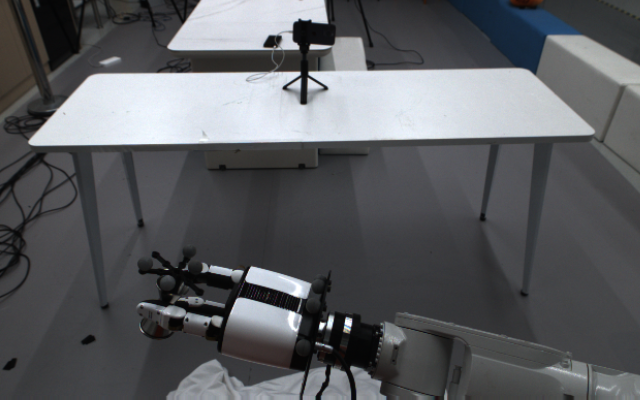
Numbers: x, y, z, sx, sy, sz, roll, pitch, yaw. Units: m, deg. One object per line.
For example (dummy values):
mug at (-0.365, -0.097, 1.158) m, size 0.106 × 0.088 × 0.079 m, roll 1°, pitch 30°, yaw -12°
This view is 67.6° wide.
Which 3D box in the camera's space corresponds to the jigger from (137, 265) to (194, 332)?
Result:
jigger at (-0.191, 0.131, 0.597) m, size 0.043 × 0.071 × 0.043 m, roll 22°, pitch 19°, yaw -8°
